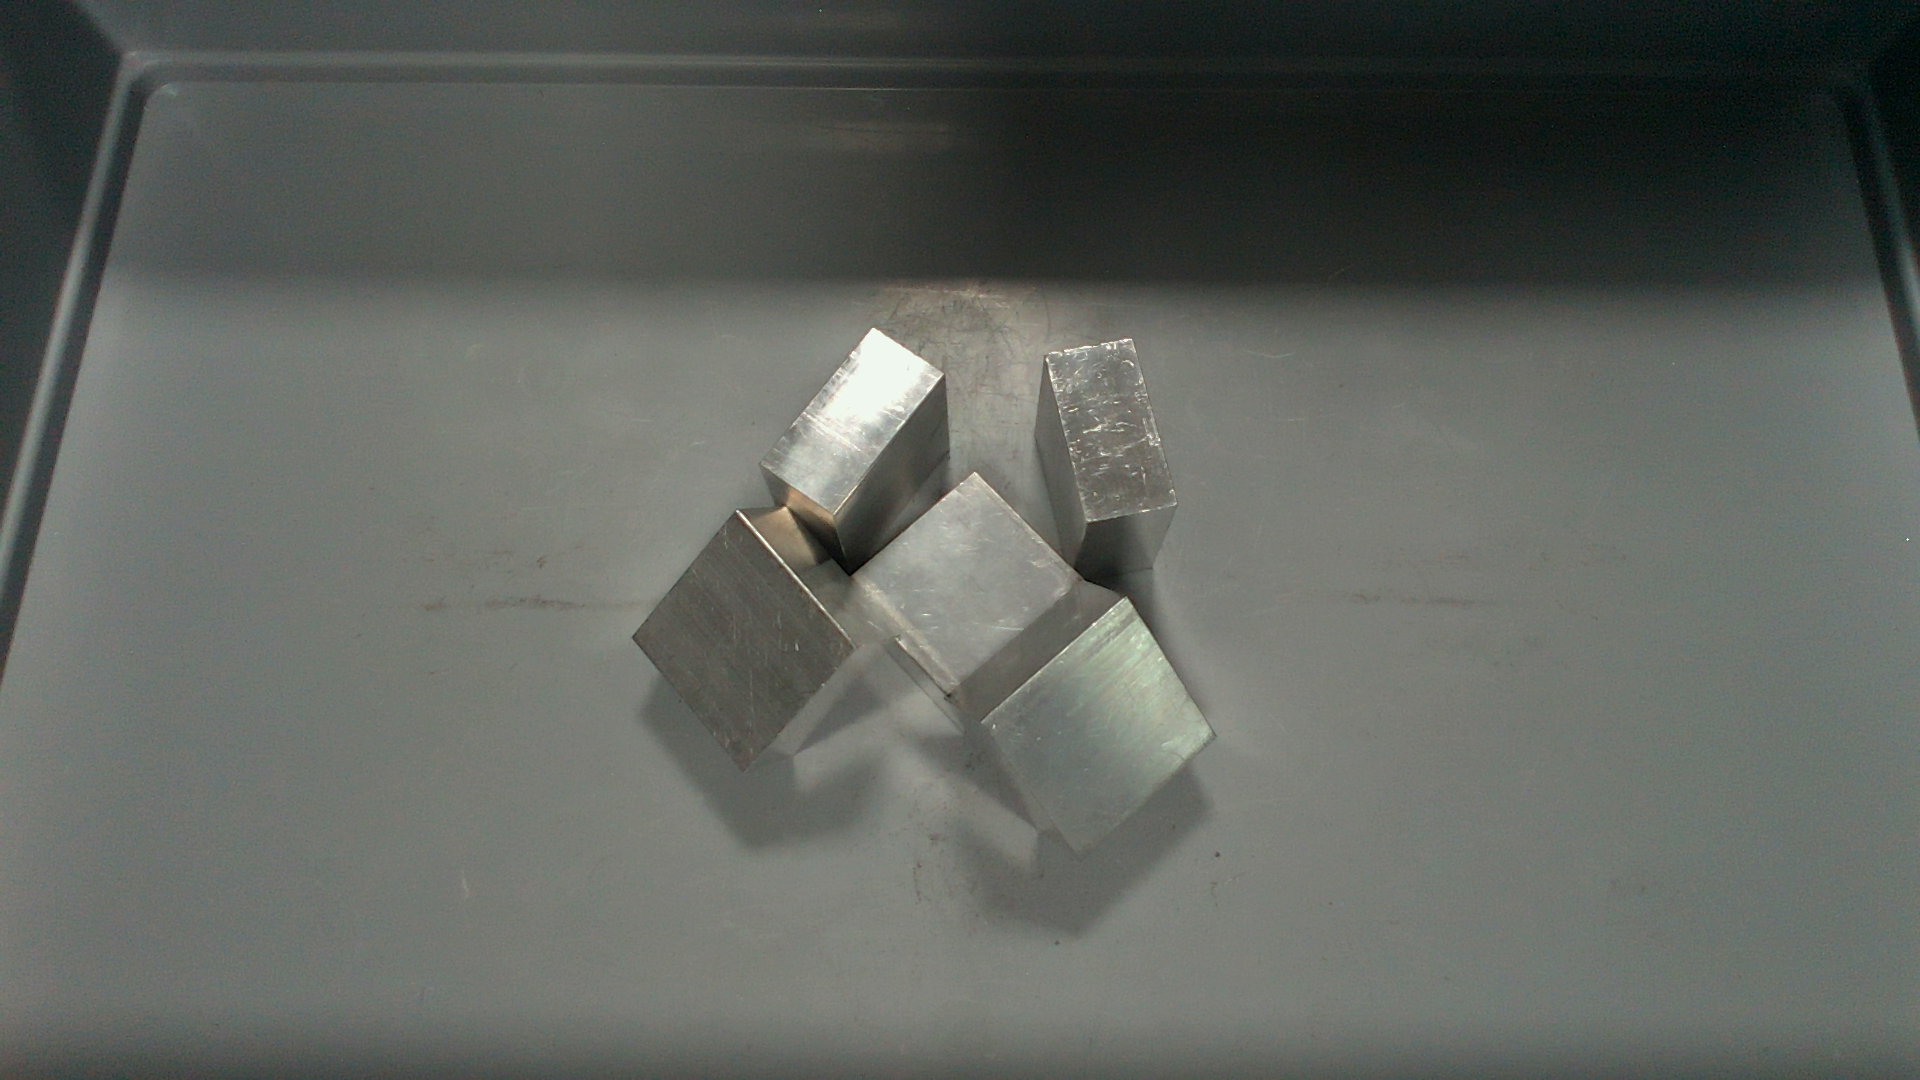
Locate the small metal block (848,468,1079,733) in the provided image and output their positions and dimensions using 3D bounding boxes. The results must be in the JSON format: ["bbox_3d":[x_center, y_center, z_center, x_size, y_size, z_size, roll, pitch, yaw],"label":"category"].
[{"bbox_3d":[0.002,0.017,0.386,0.050,0.025,0.050,-40,75,-13],"label":"small metal block"}]

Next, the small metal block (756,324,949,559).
[{"bbox_3d":[-0.028,-0.024,0.388,0.025,0.050,0.050,34,74,12],"label":"small metal block"}]

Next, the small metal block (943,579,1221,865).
[{"bbox_3d":[0.032,0.047,0.362,0.050,0.025,0.050,-39,111,-13],"label":"small metal block"}]

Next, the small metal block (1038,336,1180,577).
[{"bbox_3d":[0.040,-0.021,0.387,0.025,0.050,0.050,-10,70,-5],"label":"small metal block"}]

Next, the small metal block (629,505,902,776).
[{"bbox_3d":[-0.053,0.026,0.371,0.050,0.025,0.050,47,110,15],"label":"small metal block"}]
